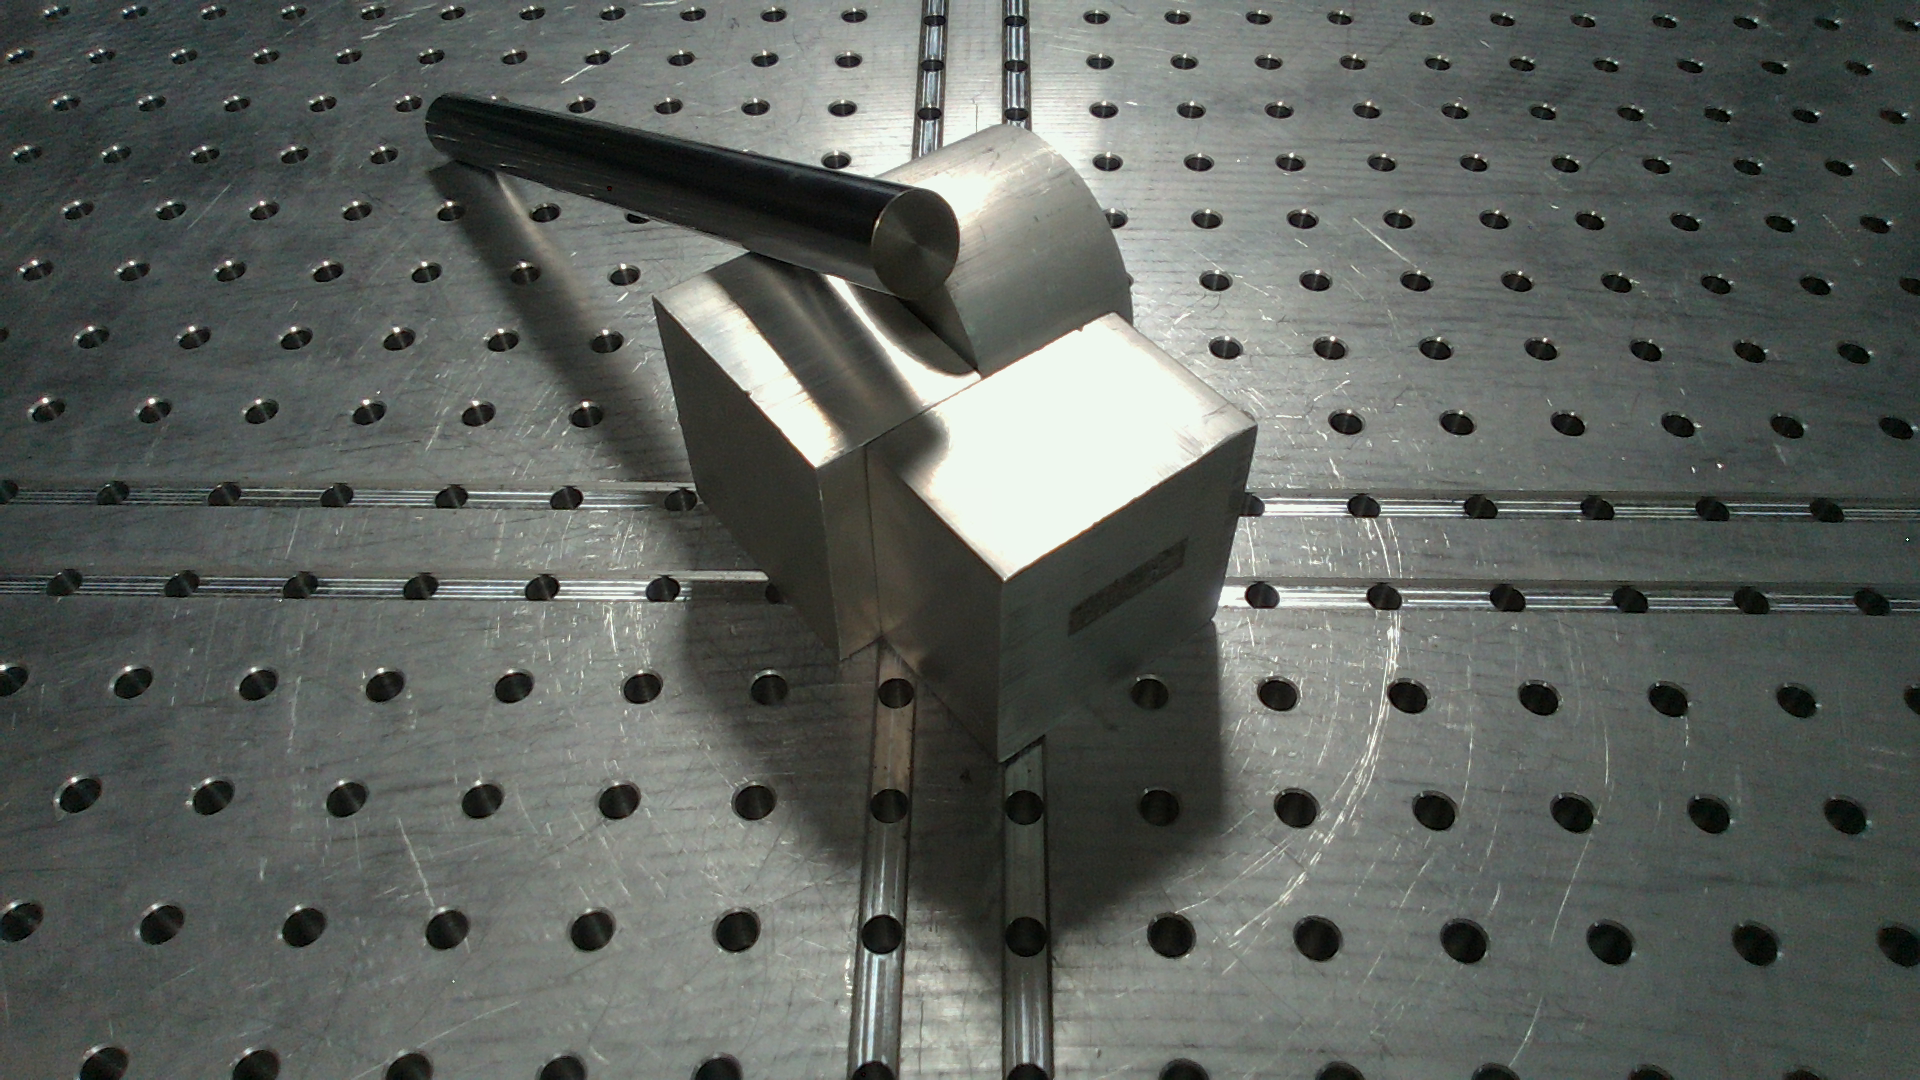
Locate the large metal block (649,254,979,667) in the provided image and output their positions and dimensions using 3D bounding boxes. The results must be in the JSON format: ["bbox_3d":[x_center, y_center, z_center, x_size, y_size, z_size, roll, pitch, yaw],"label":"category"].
[{"bbox_3d":[-0.037,-0.026,0.382,0.050,0.080,0.080,-31,56,-23],"label":"large metal block"}]

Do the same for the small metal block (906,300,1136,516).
[{"bbox_3d":[0.019,-0.042,0.431,0.050,0.025,0.050,-34,58,-25],"label":"small metal block"}]

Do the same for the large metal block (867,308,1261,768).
[{"bbox_3d":[0.025,0.000,0.357,0.080,0.080,0.050,-31,56,-23],"label":"large metal block"}]

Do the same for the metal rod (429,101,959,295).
[{"bbox_3d":[-0.101,-0.113,0.422,0.025,0.025,0.299,-34,36,-25],"label":"metal rod"}]

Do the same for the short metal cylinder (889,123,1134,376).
[{"bbox_3d":[0.003,-0.068,0.383,0.050,0.080,0.080,-30,56,-22],"label":"short metal cylinder"}]
